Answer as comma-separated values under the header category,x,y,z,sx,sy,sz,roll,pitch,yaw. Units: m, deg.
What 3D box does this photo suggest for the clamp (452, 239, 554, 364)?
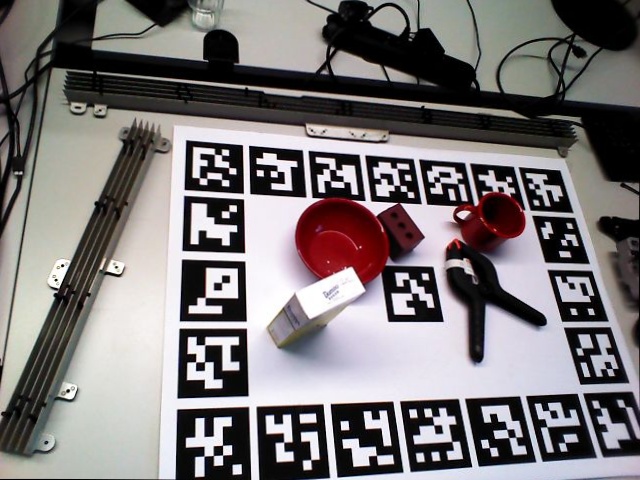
category,x,y,z,sx,sy,sz,roll,pitch,yaw
clamp,0.288,0.088,0.887,0.165,0.037,0.202,-22,74,-20

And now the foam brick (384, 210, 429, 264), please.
category,x,y,z,sx,sy,sz,roll,pitch,yaw
foam brick,0.146,-0.008,0.899,0.052,0.051,0.078,-26,76,-22

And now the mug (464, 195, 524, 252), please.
category,x,y,z,sx,sy,sz,roll,pitch,yaw
mug,0.314,-0.035,0.929,0.117,0.082,0.092,27,62,-5

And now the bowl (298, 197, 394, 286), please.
category,x,y,z,sx,sy,sz,roll,pitch,yaw
bowl,0.037,0.010,0.854,0.161,0.055,0.161,6,65,-13

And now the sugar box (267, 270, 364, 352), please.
category,x,y,z,sx,sy,sz,roll,pitch,yaw
sugar box,-0.011,0.105,0.731,0.092,0.177,0.045,-23,76,-24
